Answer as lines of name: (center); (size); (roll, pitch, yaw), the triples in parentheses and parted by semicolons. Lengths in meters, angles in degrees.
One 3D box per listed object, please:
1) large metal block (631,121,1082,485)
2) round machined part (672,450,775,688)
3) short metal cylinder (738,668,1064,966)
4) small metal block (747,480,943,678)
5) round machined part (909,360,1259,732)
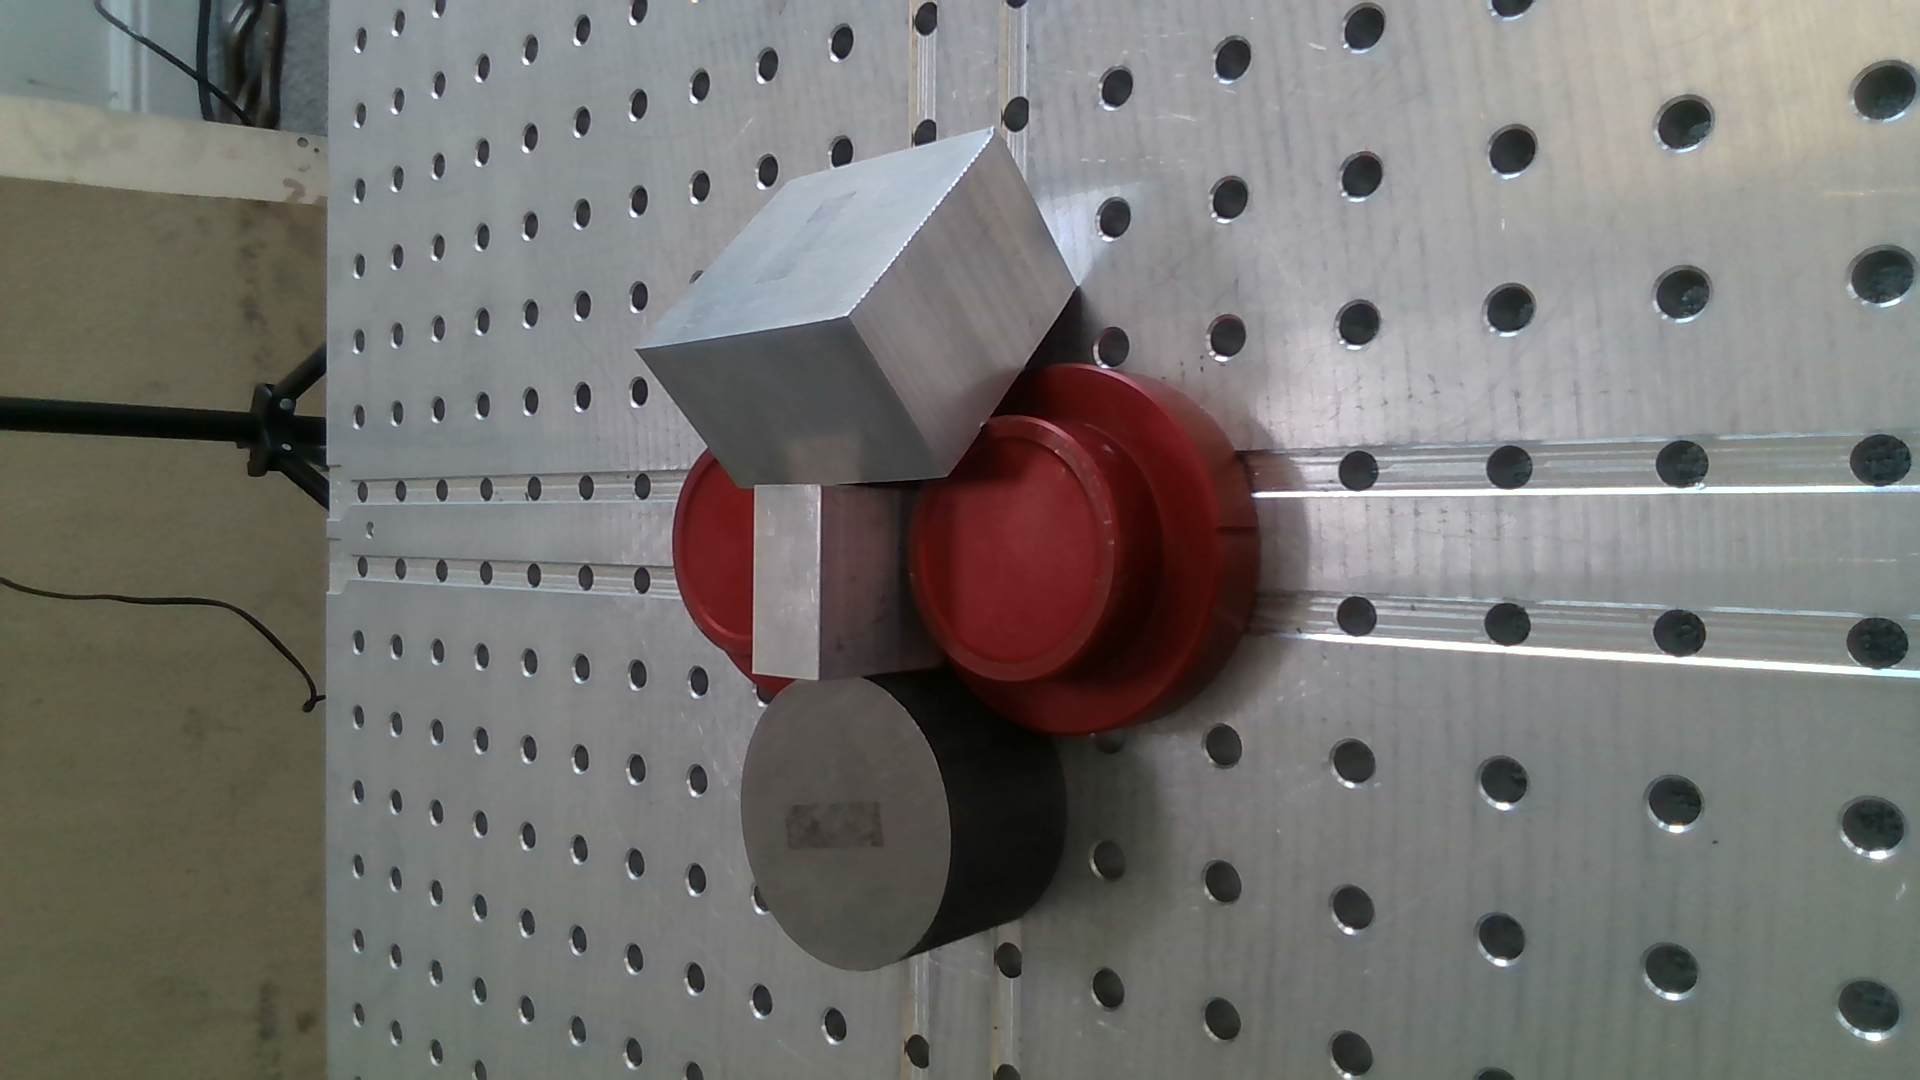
large metal block: (-0.026, -0.062, 0.372); (0.080, 0.080, 0.050); (-1, 134, 40)
round machined part: (-0.052, 0.000, 0.427); (0.098, 0.042, 0.098); (0, 91, 40)
short metal cylinder: (-0.018, 0.075, 0.392); (0.080, 0.050, 0.080); (0, 91, 40)
small metal block: (-0.030, 0.010, 0.374); (0.025, 0.050, 0.050); (2, 92, 40)
round machined part: (0.025, 0.002, 0.362); (0.098, 0.042, 0.098); (0, 91, 40)
